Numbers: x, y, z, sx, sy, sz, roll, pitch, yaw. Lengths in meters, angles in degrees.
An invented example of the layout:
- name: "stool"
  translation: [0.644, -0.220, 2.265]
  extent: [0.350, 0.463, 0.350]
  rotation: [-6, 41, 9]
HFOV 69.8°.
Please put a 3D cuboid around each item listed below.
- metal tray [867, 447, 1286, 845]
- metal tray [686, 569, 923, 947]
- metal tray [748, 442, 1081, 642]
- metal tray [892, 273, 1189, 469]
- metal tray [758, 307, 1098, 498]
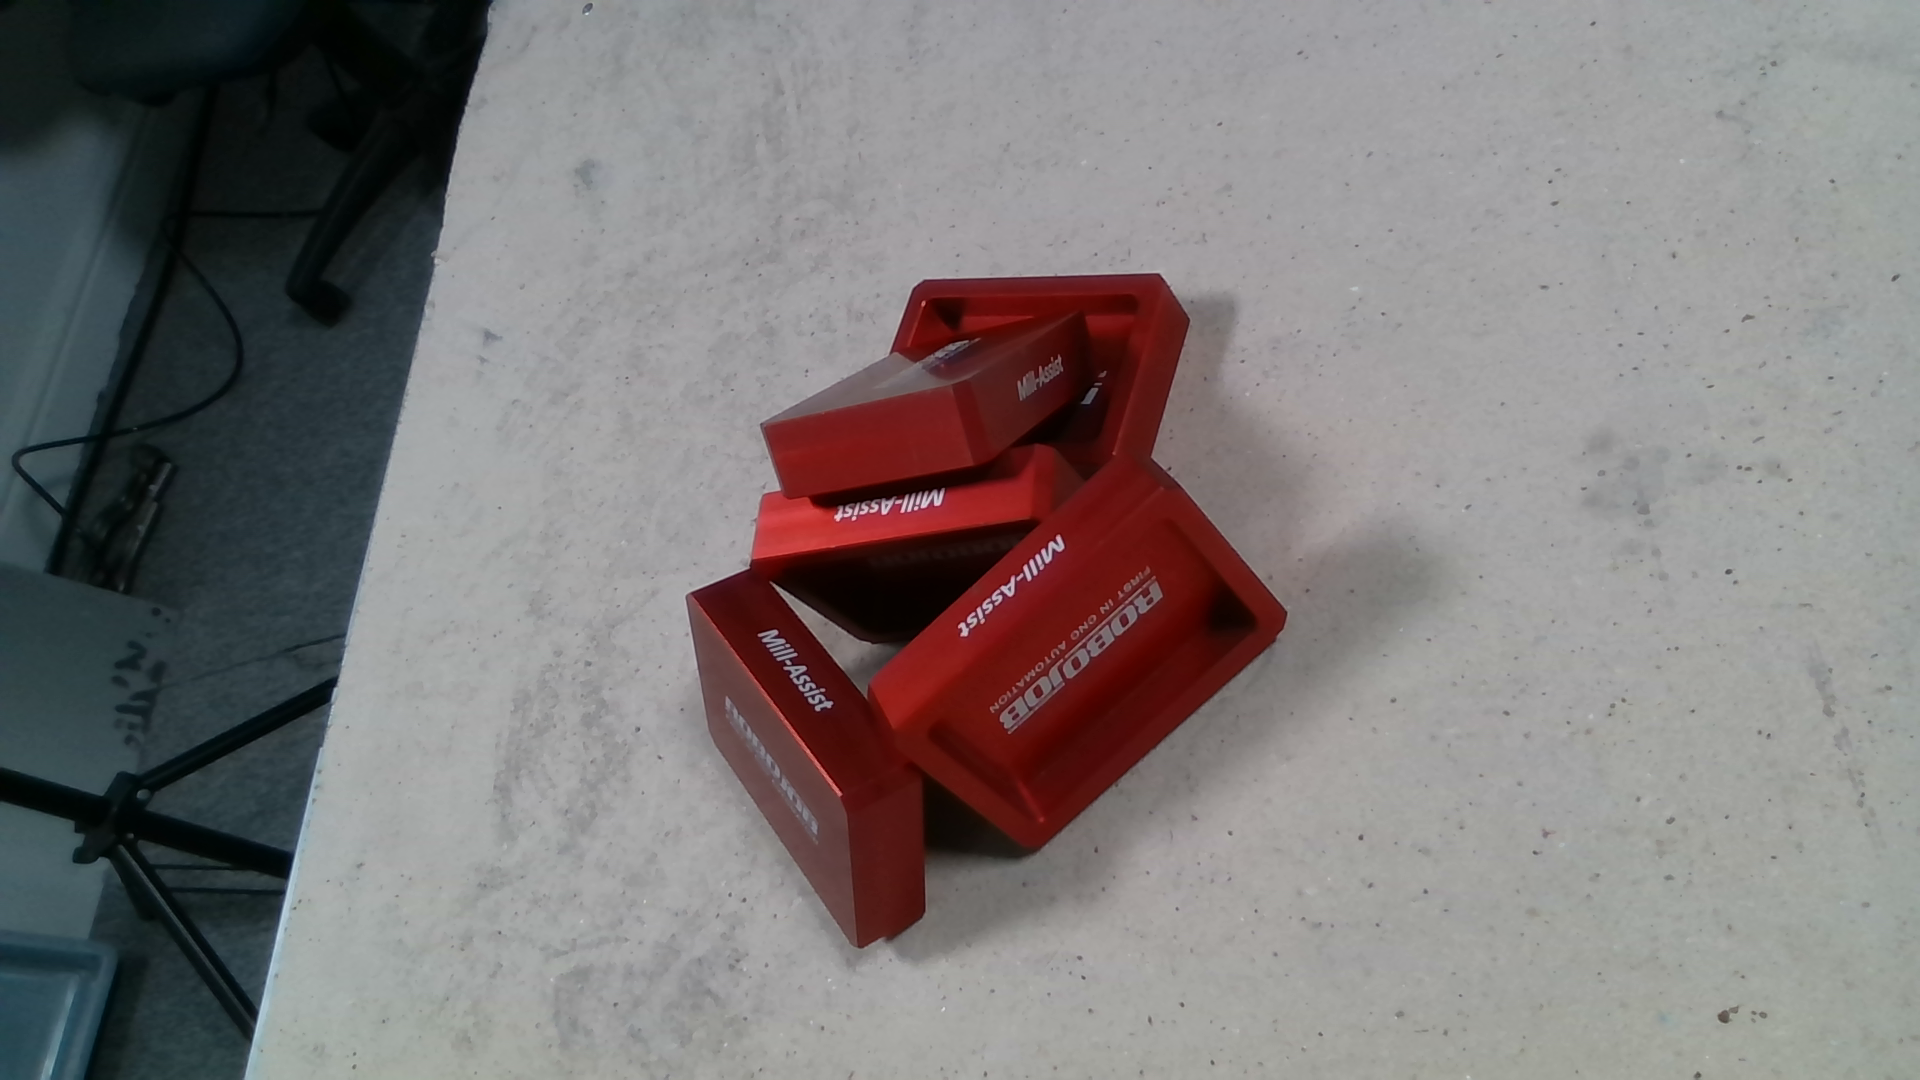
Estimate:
- name: "metal tray"
  translation: [0.043, 0.041, 0.493]
  extent: [0.130, 0.090, 0.030]
  rotation: [-42, 37, 5]
- name: "metal tray"
  translation: [-0.062, 0.082, 0.538]
  extent: [0.030, 0.090, 0.130]
  rotation: [-23, 46, -25]
- name: "metal tray"
  translation: [-0.006, 0.005, 0.545]
  extent: [0.130, 0.090, 0.030]
  rotation: [-9, 61, 28]
- name: "metal tray"
  translation: [0.026, -0.070, 0.603]
  extent: [0.130, 0.030, 0.090]
  rotation: [6, 69, 34]
- name: "metal tray"
  translation: [-0.009, -0.057, 0.549]
  extent: [0.090, 0.030, 0.130]
  rotation: [-9, 17, 28]
